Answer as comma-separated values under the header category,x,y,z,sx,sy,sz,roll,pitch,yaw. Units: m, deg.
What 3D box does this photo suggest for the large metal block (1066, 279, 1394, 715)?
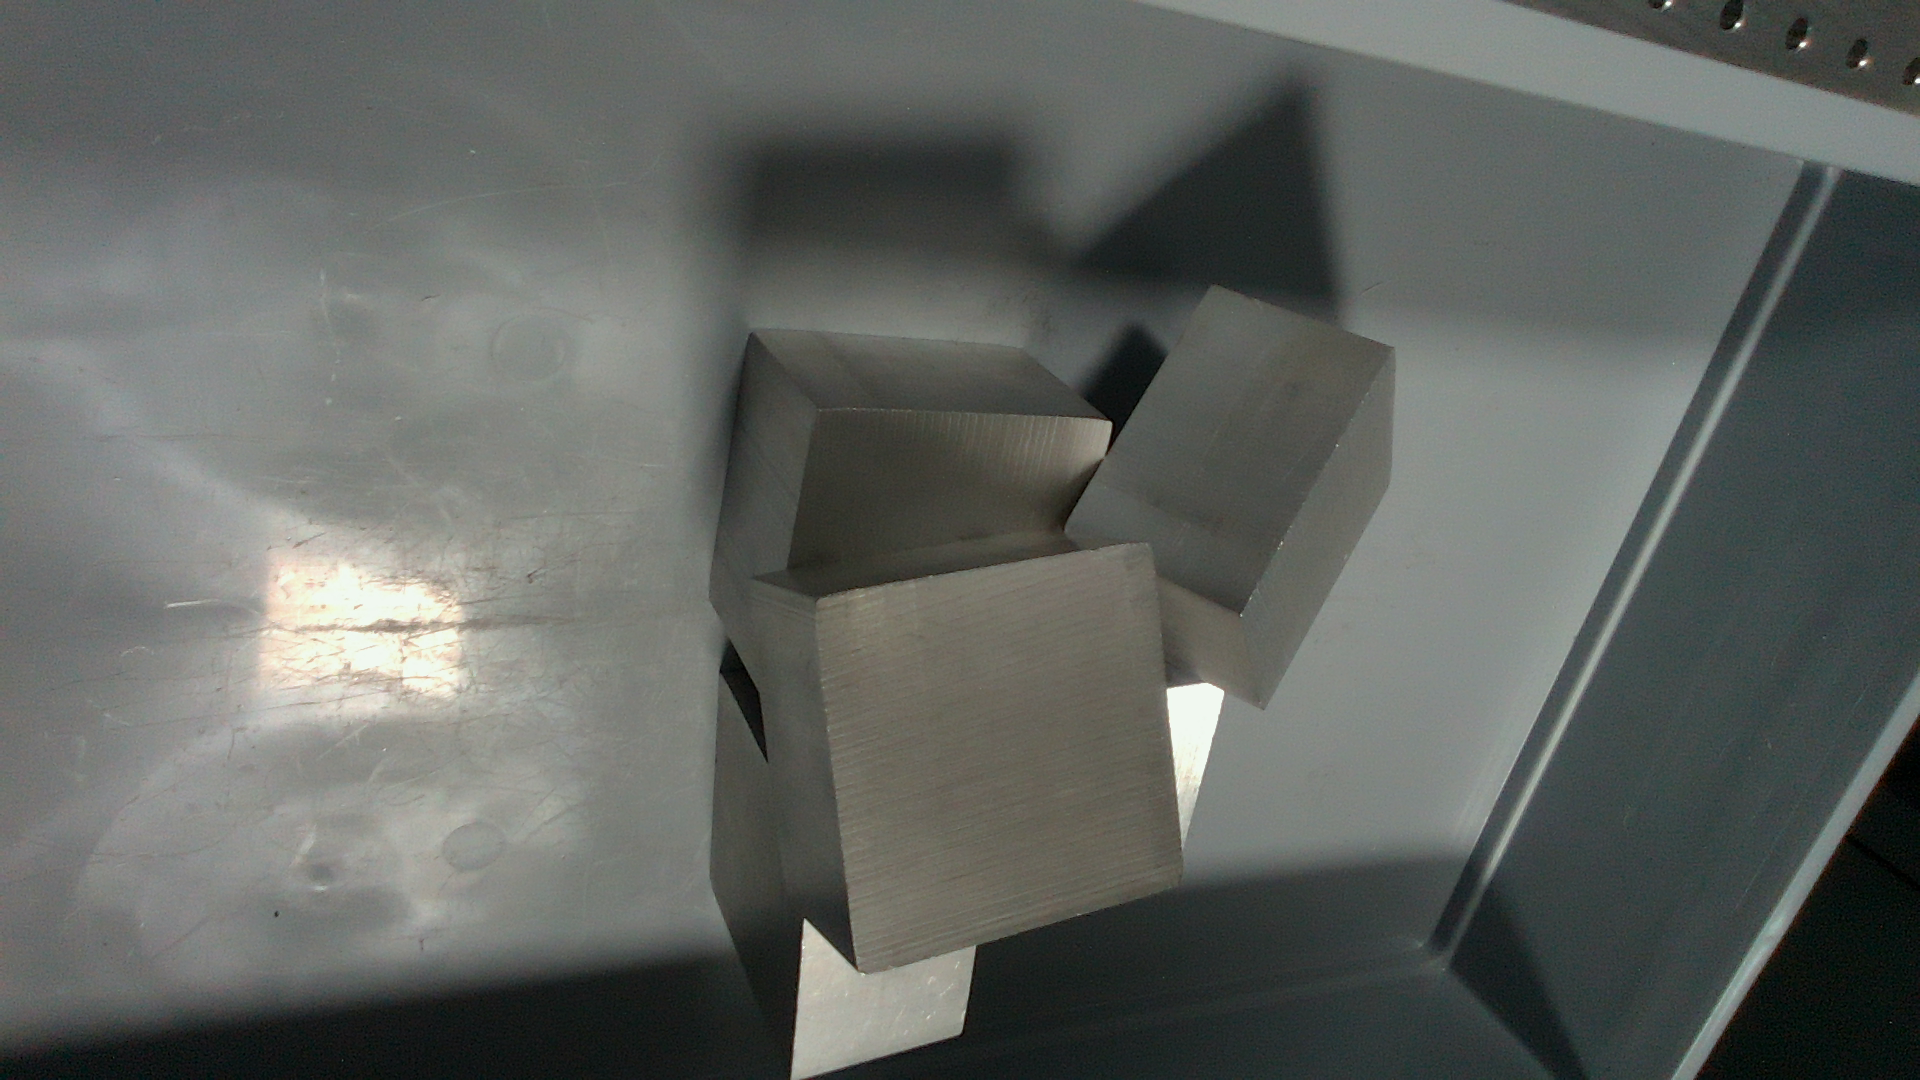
category,x,y,z,sx,sy,sz,roll,pitch,yaw
large metal block,0.076,-0.009,0.374,0.080,0.050,0.080,-58,155,-13

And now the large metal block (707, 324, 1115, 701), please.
category,x,y,z,sx,sy,sz,roll,pitch,yaw
large metal block,-0.016,-0.007,0.359,0.080,0.050,0.080,-1,119,-28

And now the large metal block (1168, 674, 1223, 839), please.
category,x,y,z,sx,sy,sz,roll,pitch,yaw
large metal block,0.027,0.067,0.425,0.080,0.050,0.080,-5,121,-26

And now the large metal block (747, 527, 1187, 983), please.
category,x,y,z,sx,sy,sz,roll,pitch,yaw
large metal block,0.001,0.044,0.315,0.080,0.050,0.080,-9,97,-23

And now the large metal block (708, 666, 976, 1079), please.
category,x,y,z,sx,sy,sz,roll,pitch,yaw
large metal block,-0.034,0.088,0.387,0.050,0.080,0.080,-7,121,-25
